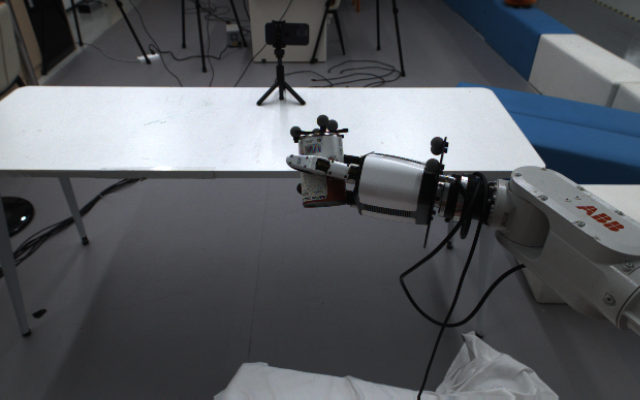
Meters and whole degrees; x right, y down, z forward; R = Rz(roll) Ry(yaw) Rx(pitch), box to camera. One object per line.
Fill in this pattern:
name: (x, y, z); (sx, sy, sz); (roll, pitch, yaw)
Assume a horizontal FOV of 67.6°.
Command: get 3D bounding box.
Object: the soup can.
soup can: (0.005, -0.042, 0.715); (0.067, 0.101, 0.067); (-5, -5, 0)
